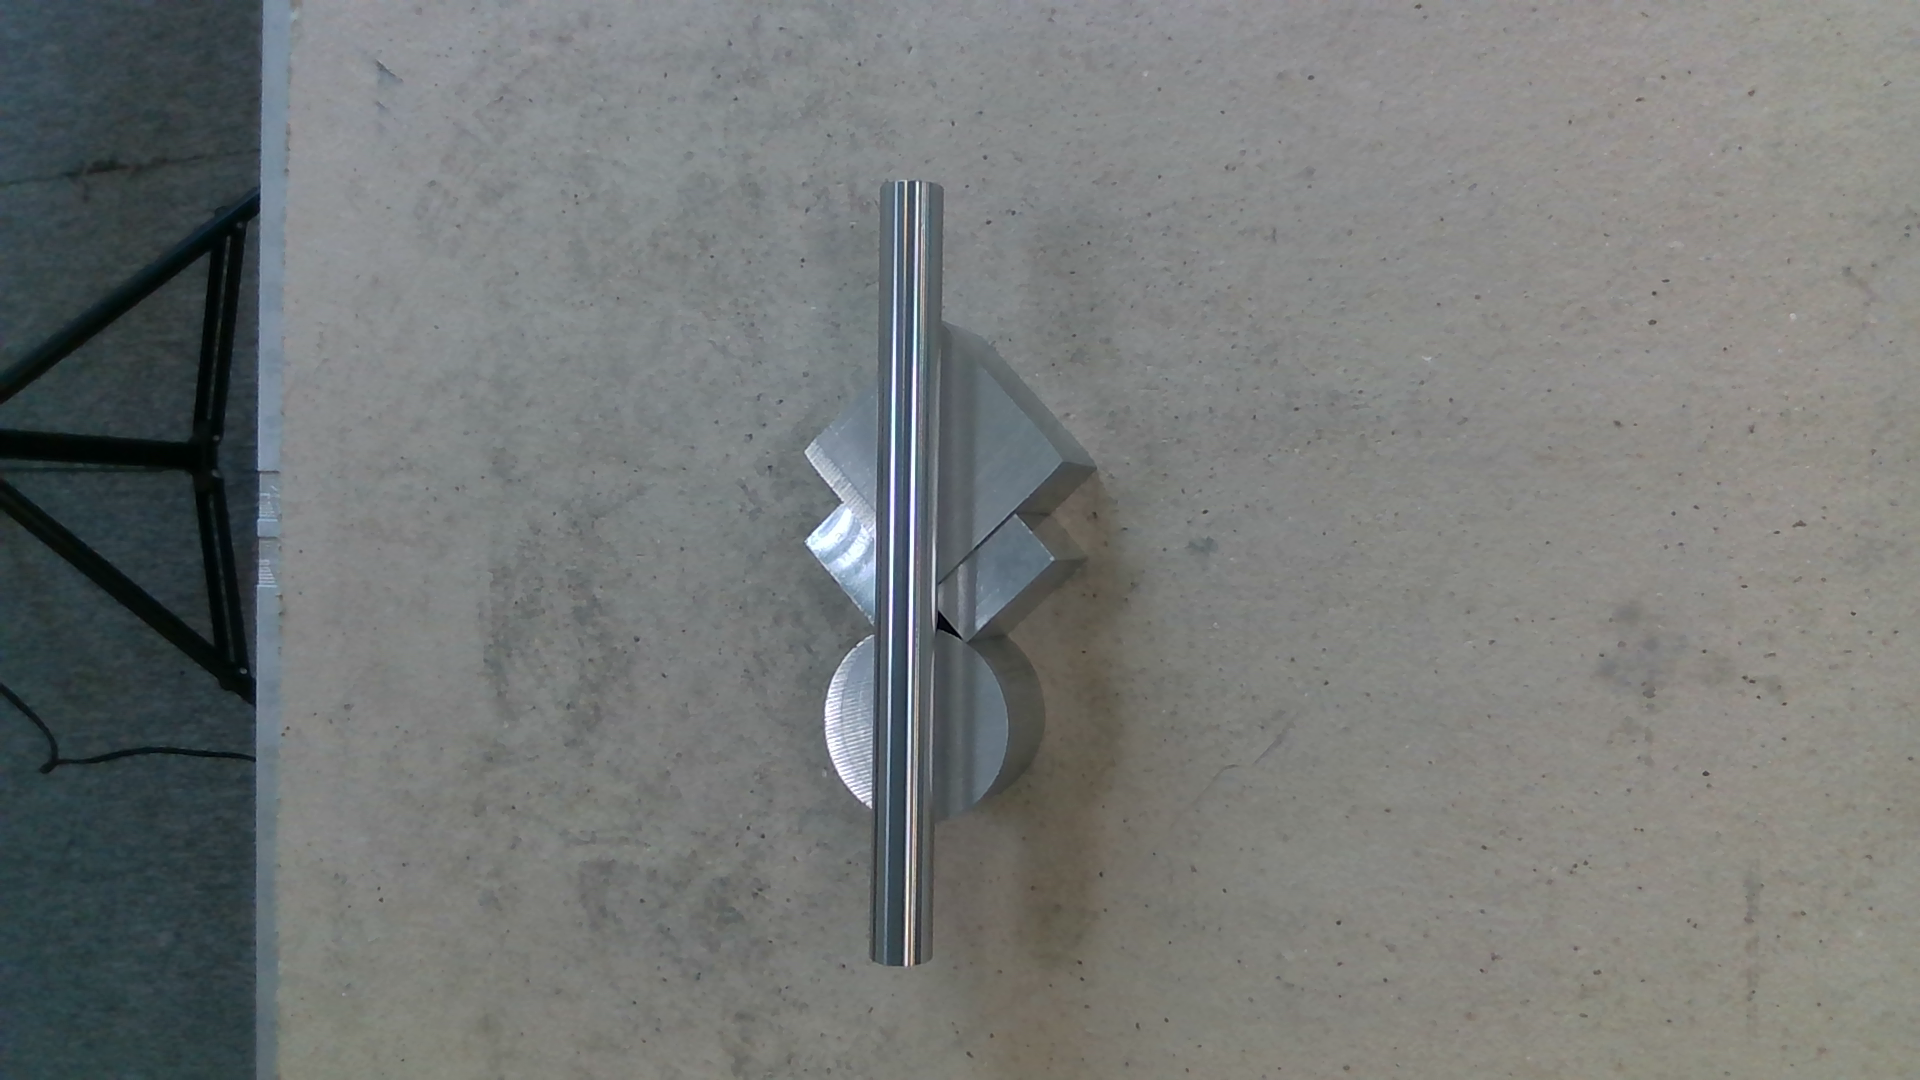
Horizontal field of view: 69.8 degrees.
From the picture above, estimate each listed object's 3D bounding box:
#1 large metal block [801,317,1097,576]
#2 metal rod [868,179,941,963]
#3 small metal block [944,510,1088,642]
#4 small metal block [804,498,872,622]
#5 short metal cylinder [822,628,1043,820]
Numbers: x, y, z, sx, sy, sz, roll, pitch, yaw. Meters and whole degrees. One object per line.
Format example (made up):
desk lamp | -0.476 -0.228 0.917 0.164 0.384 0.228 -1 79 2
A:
large metal block | -0.004 -0.034 0.572 0.080 0.050 0.080 -44 76 15
metal rod | -0.021 0.013 0.539 0.025 0.025 0.300 1 91 20
small metal block | 0.020 0.014 0.566 0.050 0.050 0.025 -44 76 15
small metal block | -0.032 0.010 0.586 0.025 0.050 0.050 -44 76 15
short metal cylinder | -0.011 0.073 0.577 0.080 0.050 0.080 0 91 20
